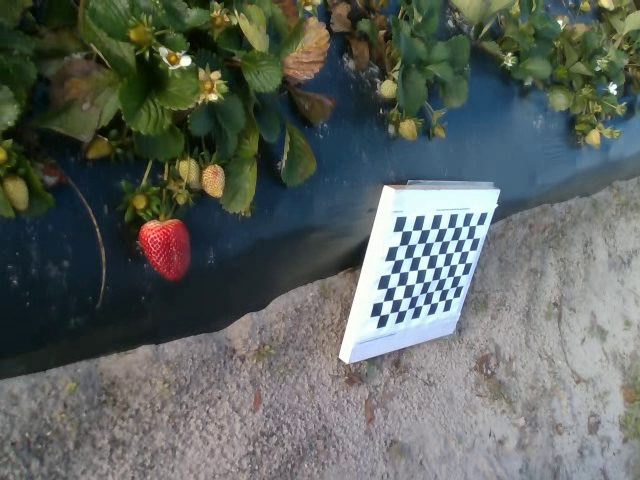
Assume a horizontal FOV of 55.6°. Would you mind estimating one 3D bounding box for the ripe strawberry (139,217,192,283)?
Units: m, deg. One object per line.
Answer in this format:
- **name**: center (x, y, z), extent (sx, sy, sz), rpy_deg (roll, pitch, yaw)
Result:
- **ripe strawberry**: center (-0.162, 0.008, 0.640), extent (0.052, 0.068, 0.044), rpy_deg (-10, -15, -43)
